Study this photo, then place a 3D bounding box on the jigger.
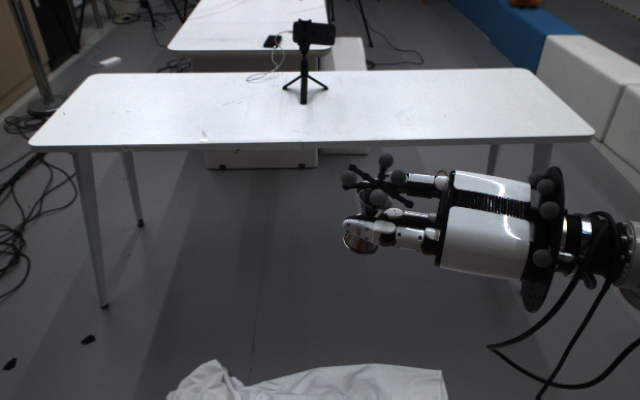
[{"bbox_3d":[0.055,0.024,0.566,0.043,0.071,0.043,10,35,-7],"label":"jigger"}]
